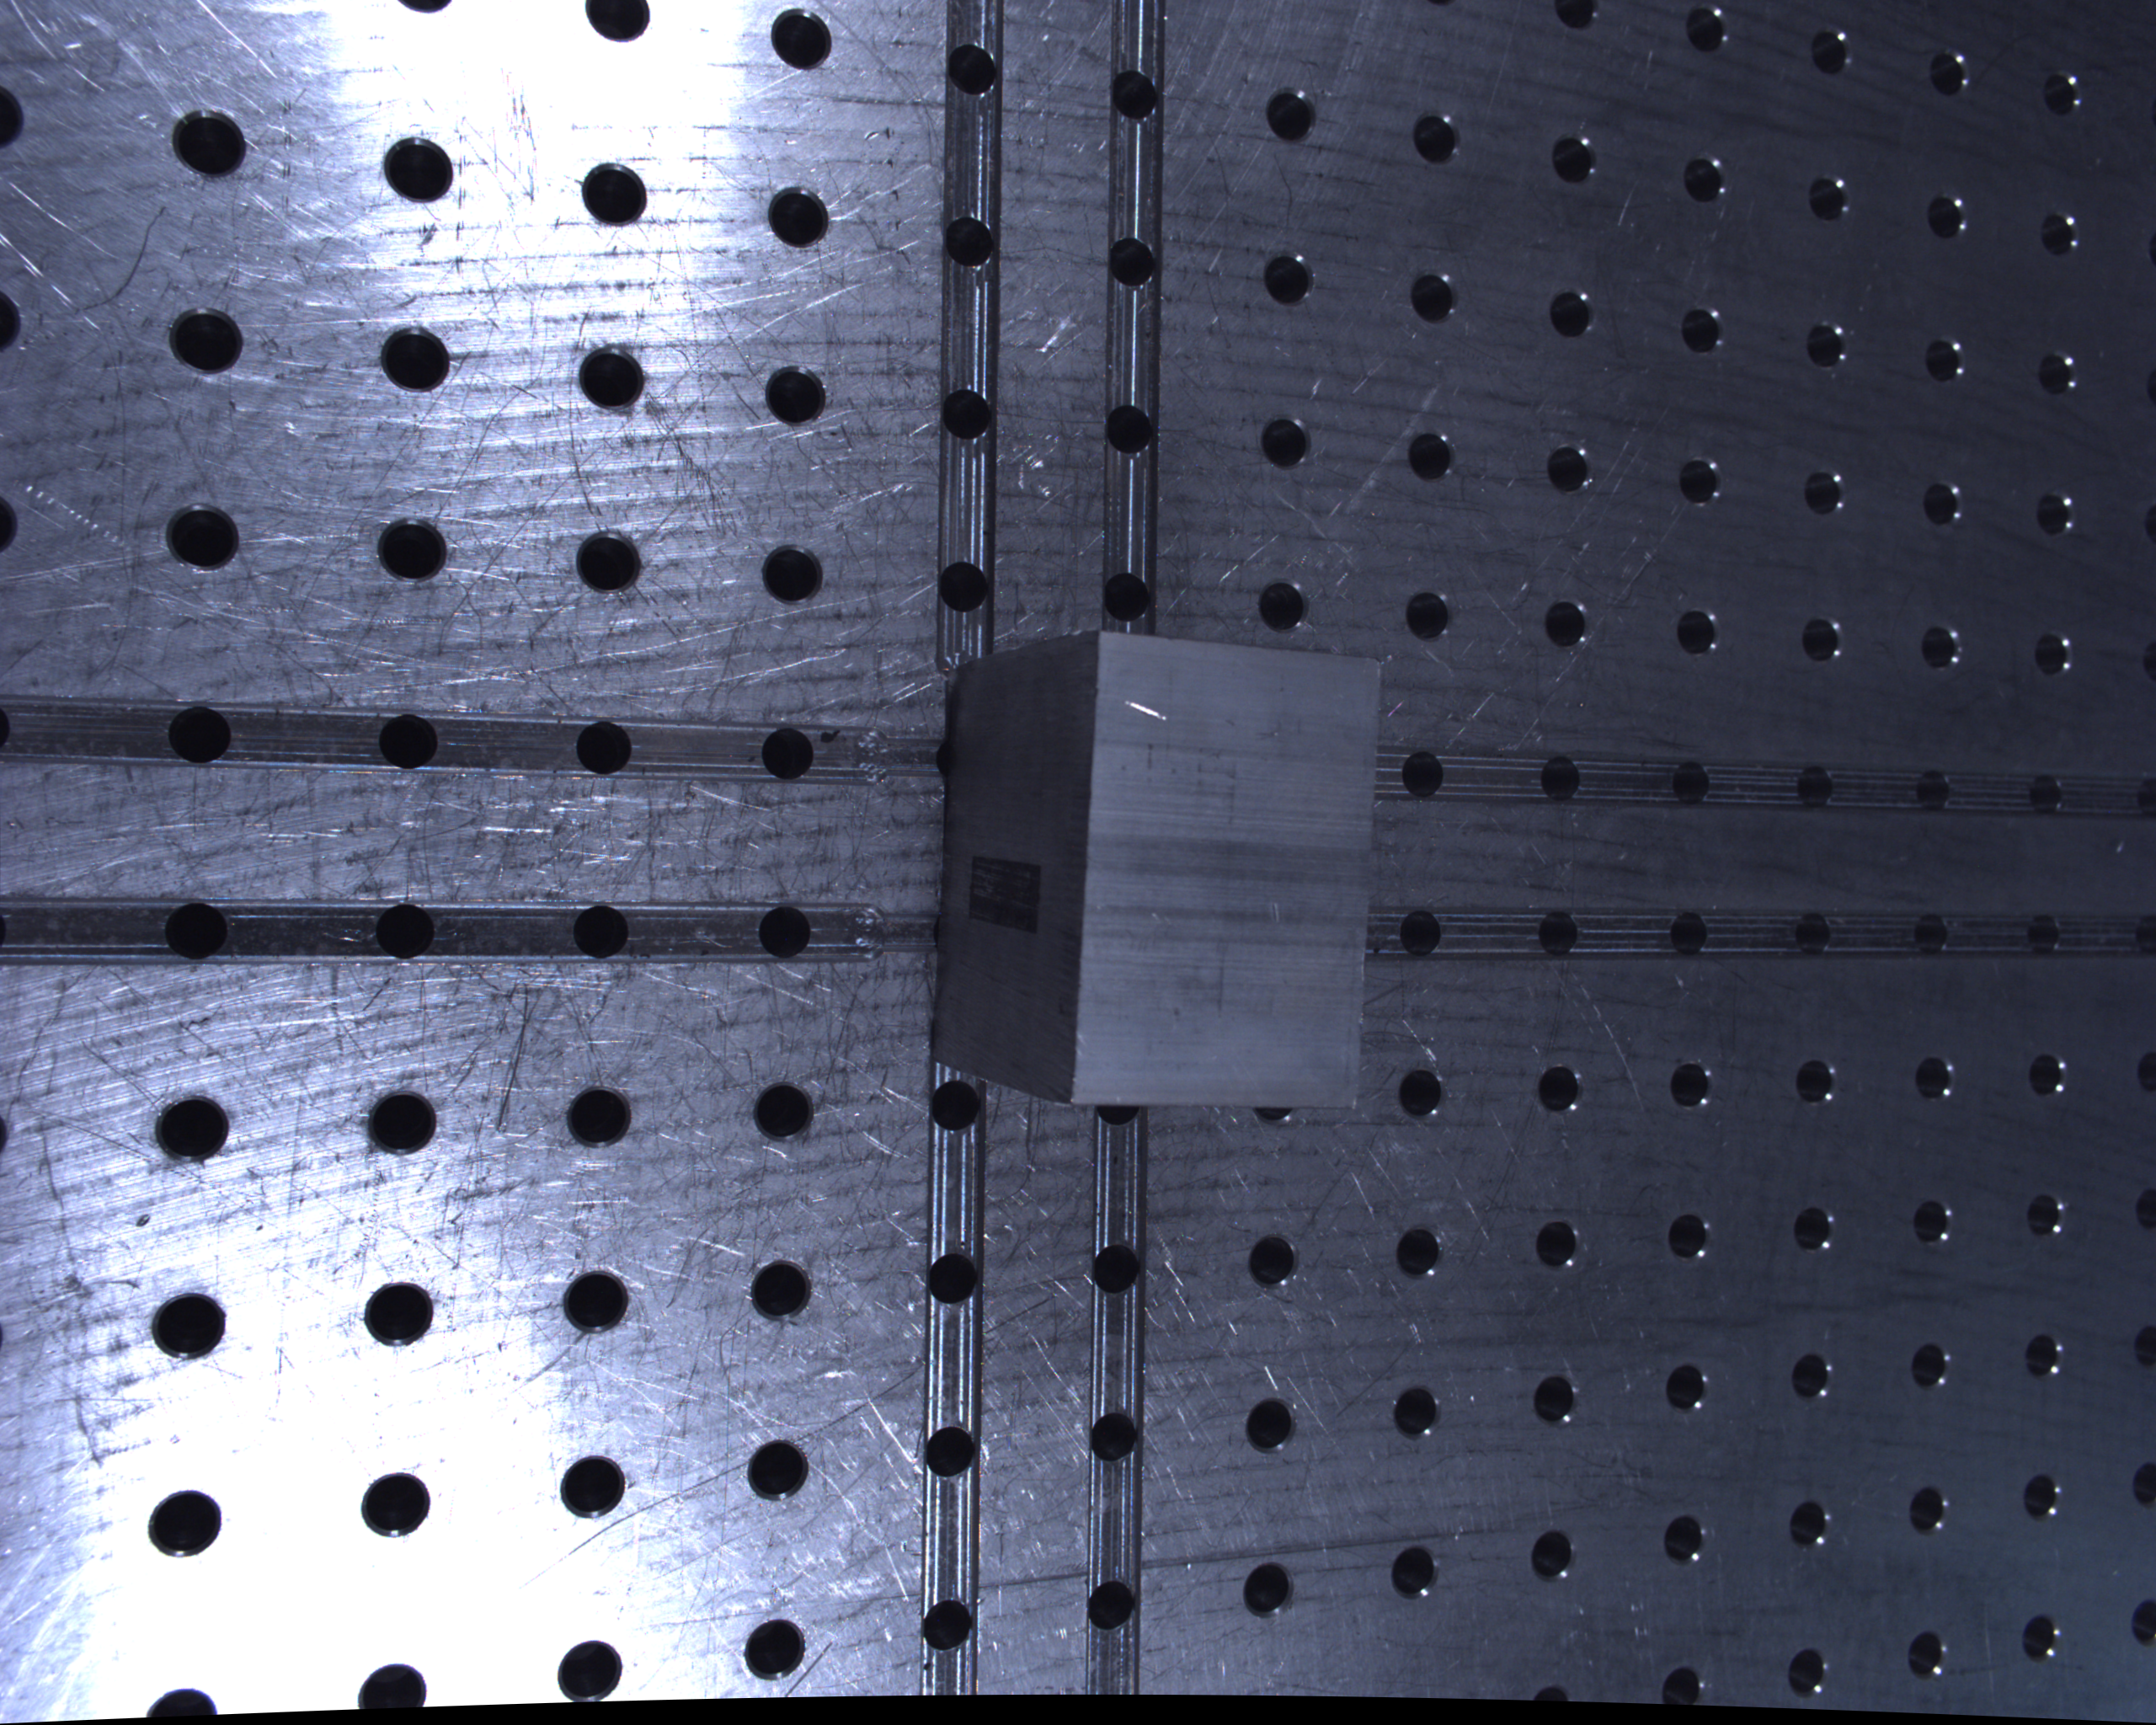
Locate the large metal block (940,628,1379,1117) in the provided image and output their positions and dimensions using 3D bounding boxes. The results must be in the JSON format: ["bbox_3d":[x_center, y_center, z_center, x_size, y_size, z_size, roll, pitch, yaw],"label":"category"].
[{"bbox_3d":[0.012,0.002,0.388,0.050,0.080,0.079,4,89,-20],"label":"large metal block"}]
